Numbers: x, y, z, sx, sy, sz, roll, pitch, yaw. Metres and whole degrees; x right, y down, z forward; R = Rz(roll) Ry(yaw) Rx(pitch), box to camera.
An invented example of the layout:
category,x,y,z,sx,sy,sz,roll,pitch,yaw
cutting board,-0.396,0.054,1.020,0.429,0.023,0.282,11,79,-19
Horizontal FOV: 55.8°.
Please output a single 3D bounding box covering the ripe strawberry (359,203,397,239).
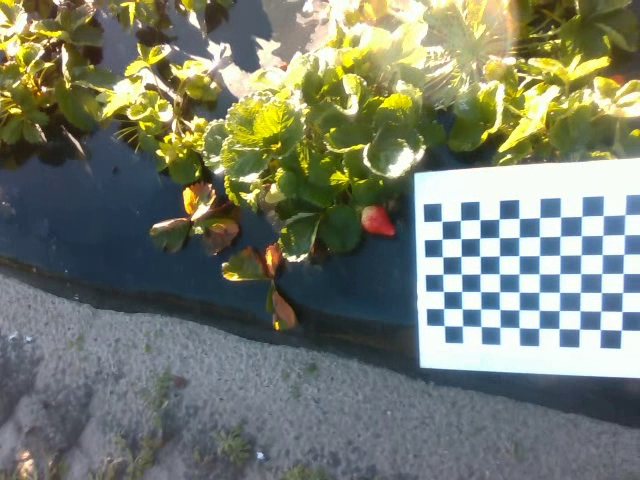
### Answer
category,x,y,z,sx,sy,sz,roll,pitch,yaw
ripe strawberry,0.085,-0.022,0.875,0.065,0.040,0.040,40,15,7
